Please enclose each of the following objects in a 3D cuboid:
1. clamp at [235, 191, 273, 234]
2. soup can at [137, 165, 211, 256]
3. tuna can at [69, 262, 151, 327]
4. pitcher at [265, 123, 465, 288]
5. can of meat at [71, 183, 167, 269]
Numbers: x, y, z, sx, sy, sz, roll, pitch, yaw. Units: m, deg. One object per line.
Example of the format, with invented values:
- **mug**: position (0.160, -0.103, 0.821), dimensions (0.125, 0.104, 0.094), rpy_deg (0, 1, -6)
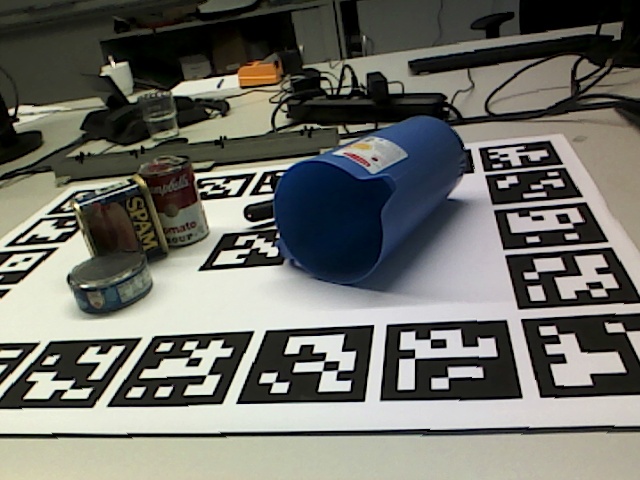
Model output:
- **clamp**: position (-0.021, -0.041, 0.845), dimensions (0.165, 0.036, 0.122), rpy_deg (0, 24, 14)
- **soup can**: position (-0.190, -0.039, 0.814), dimensions (0.068, 0.101, 0.068), rpy_deg (-11, 27, 5)
- **tuna can**: position (-0.238, 0.061, 0.704), dimensions (0.086, 0.033, 0.086), rpy_deg (-9, 28, 4)
- **pitcher**: position (0.059, -0.051, 0.696), dimensions (0.190, 0.133, 0.241), rpy_deg (-18, 9, 41)
- **can of meat**: position (-0.248, -0.007, 0.763), dimensions (0.083, 0.101, 0.058), rpy_deg (-24, 30, -17)
